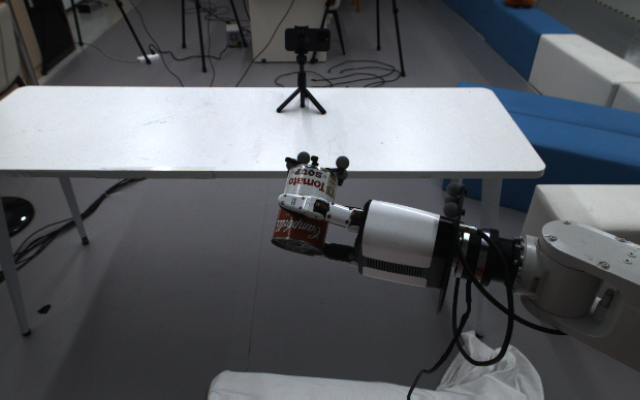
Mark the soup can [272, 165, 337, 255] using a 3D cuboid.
[{"bbox_3d":[-0.017,0.012,0.624,0.067,0.067,0.101,9,72,10],"label":"soup can"}]
